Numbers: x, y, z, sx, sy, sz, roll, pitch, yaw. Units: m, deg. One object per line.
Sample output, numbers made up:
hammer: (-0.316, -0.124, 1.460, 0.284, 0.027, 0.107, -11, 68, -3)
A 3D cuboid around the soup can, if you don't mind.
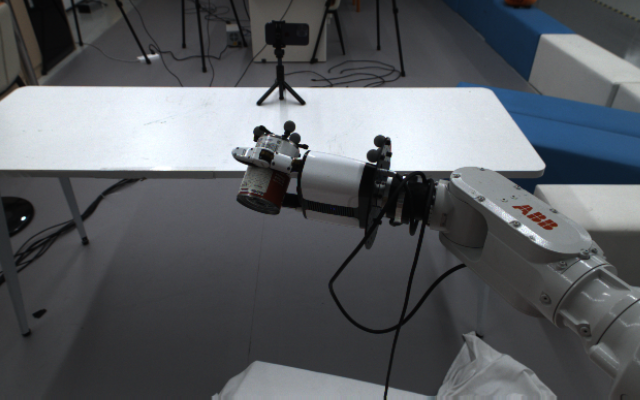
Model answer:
soup can: (-0.077, -0.038, 0.714, 0.067, 0.067, 0.101, 12, 71, 14)
